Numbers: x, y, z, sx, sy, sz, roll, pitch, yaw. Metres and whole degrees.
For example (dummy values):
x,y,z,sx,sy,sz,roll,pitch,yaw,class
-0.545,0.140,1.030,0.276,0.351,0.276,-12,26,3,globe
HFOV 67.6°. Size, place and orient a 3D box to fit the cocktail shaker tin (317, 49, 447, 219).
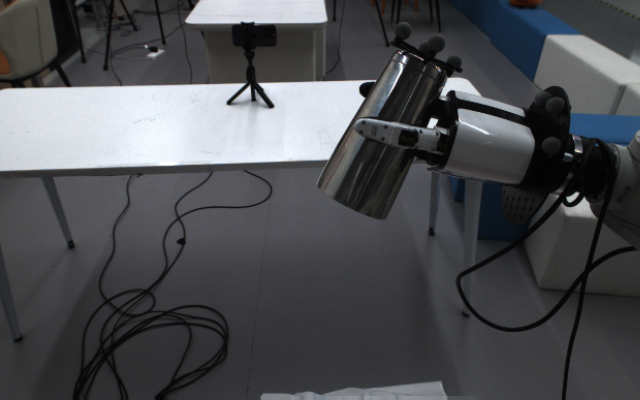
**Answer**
x,y,z,sx,sy,sz,roll,pitch,yaw,class
0.076,-0.076,0.545,0.093,0.170,0.093,24,12,-6,cocktail shaker tin
